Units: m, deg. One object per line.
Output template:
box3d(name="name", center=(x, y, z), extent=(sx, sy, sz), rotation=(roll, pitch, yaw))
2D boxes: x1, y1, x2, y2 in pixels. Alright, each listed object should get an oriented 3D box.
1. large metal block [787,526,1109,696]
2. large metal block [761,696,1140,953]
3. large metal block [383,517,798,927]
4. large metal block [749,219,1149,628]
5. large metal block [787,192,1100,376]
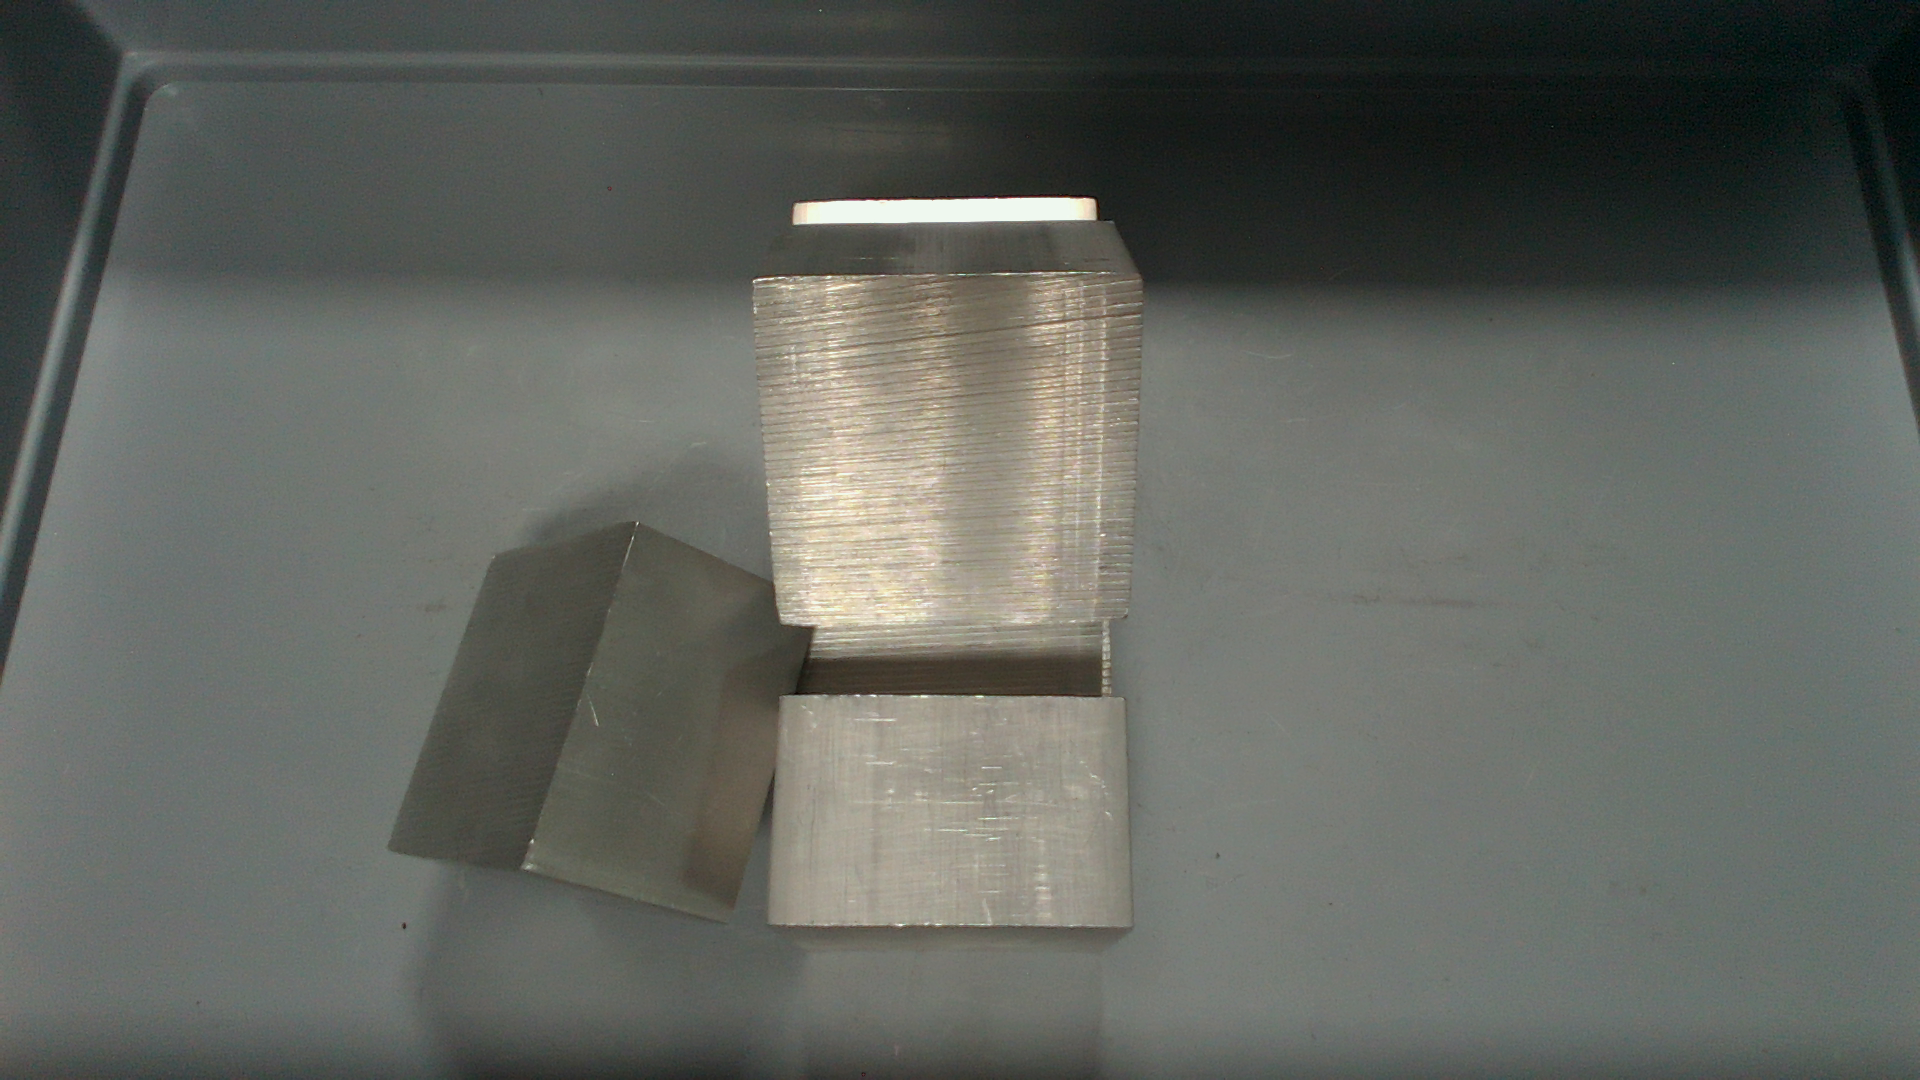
box3d(name="large metal block", center=(-0.003, 0.016, 0.376), extent=(0.080, 0.050, 0.080), rotation=(-1, 70, 0))
box3d(name="large metal block", center=(-0.002, 0.072, 0.337), extent=(0.080, 0.080, 0.050), rotation=(0, 70, 0))
box3d(name="large metal block", center=(-0.090, 0.045, 0.339), extent=(0.050, 0.080, 0.080), rotation=(28, 66, -36))
box3d(name="large metal block", center=(-0.002, -0.028, 0.315), extent=(0.080, 0.080, 0.050), rotation=(-1, 25, 0))
box3d(name="large metal block", center=(-0.004, -0.051, 0.382), extent=(0.080, 0.080, 0.050), rotation=(-1, 70, 0))
